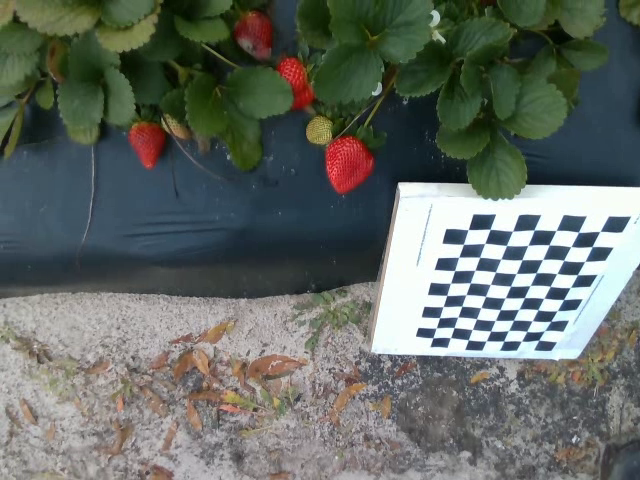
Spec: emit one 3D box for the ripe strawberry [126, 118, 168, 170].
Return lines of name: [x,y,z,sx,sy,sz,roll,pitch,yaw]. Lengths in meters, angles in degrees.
ripe strawberry: [-0.172,-0.096,0.636,0.043,0.051,0.041,-8,2,15]

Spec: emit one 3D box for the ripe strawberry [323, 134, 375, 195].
ripe strawberry: [0.025,-0.071,0.646,0.057,0.065,0.056,-12,-39,39]
